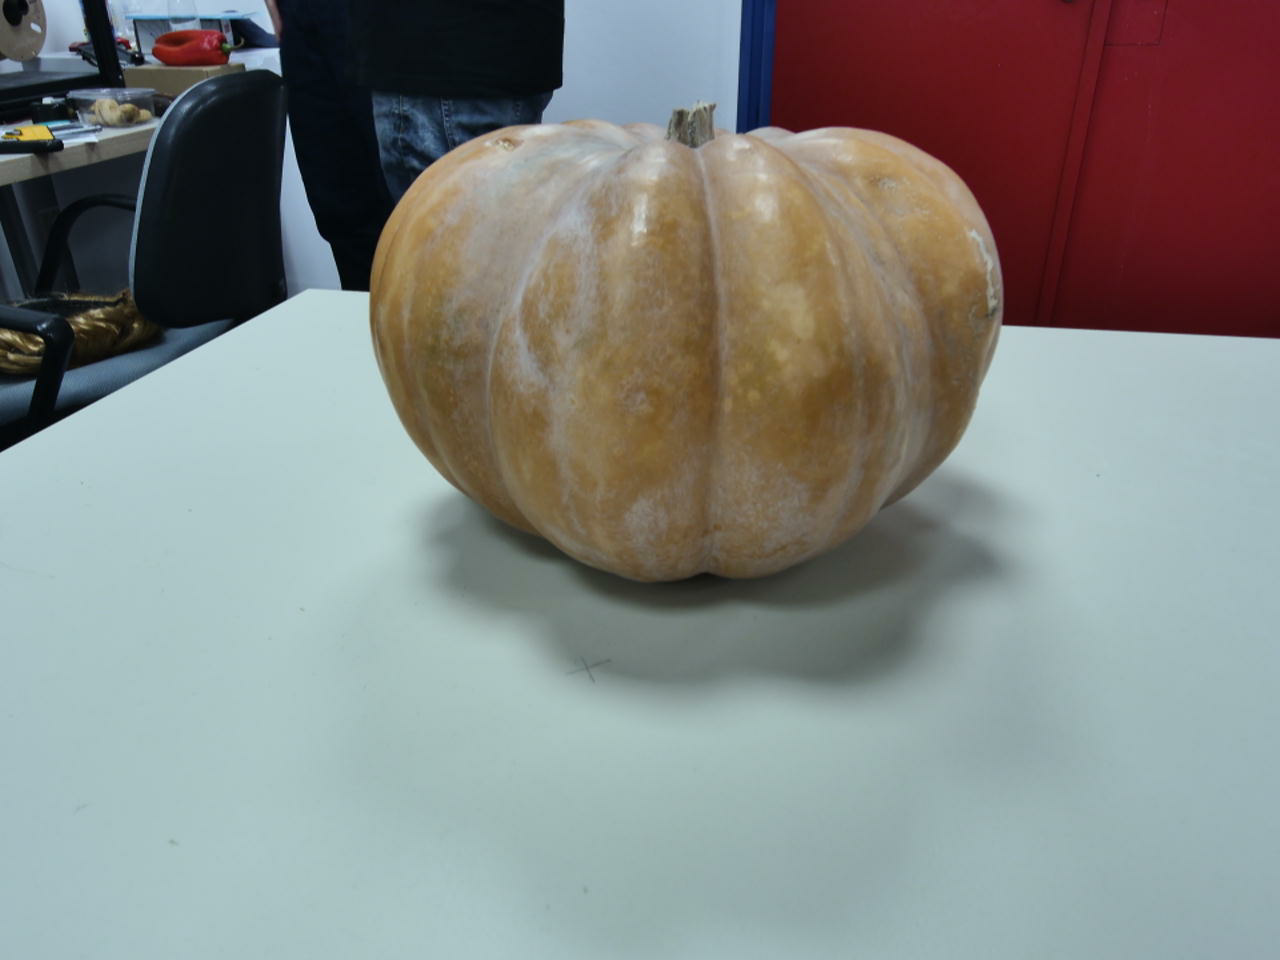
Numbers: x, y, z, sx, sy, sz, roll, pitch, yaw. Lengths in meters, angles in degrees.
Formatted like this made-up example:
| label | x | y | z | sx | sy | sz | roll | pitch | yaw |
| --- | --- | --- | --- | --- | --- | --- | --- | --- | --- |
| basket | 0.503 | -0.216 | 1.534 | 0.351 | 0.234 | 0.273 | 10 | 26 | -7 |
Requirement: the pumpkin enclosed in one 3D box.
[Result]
| label | x | y | z | sx | sy | sz | roll | pitch | yaw |
| --- | --- | --- | --- | --- | --- | --- | --- | --- | --- |
| pumpkin | 0.017 | -0.068 | 0.436 | 0.277 | 0.181 | 0.277 | 0 | 25 | 0 |
